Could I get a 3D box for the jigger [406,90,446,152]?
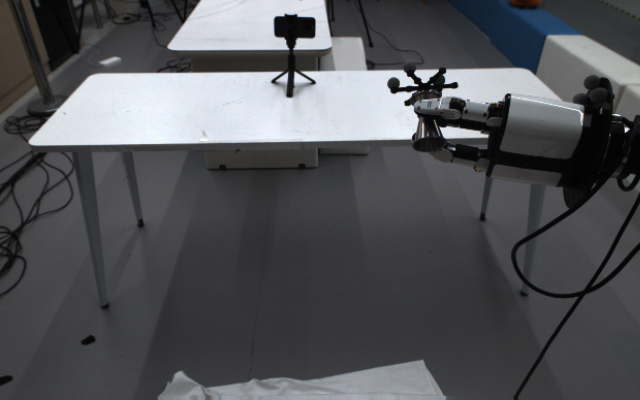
[{"bbox_3d":[0.139,-0.105,0.628,0.043,0.043,0.071,1,70,-2],"label":"jigger"}]
